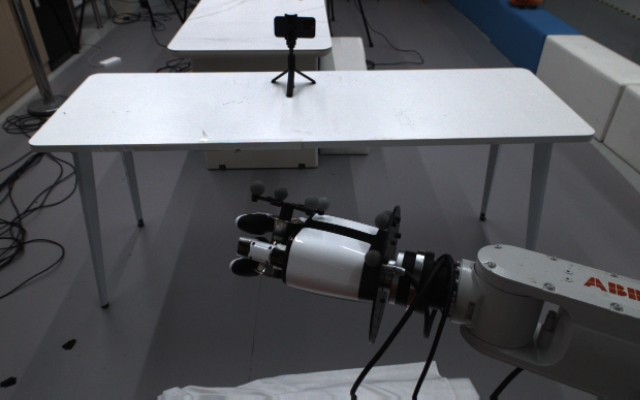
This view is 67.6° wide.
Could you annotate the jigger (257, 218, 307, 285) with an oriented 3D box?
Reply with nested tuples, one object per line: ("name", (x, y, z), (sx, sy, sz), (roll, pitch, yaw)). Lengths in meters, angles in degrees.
("jigger", (-0.046, 0.055, 0.581), (0.043, 0.071, 0.043), (14, 1, 0))
